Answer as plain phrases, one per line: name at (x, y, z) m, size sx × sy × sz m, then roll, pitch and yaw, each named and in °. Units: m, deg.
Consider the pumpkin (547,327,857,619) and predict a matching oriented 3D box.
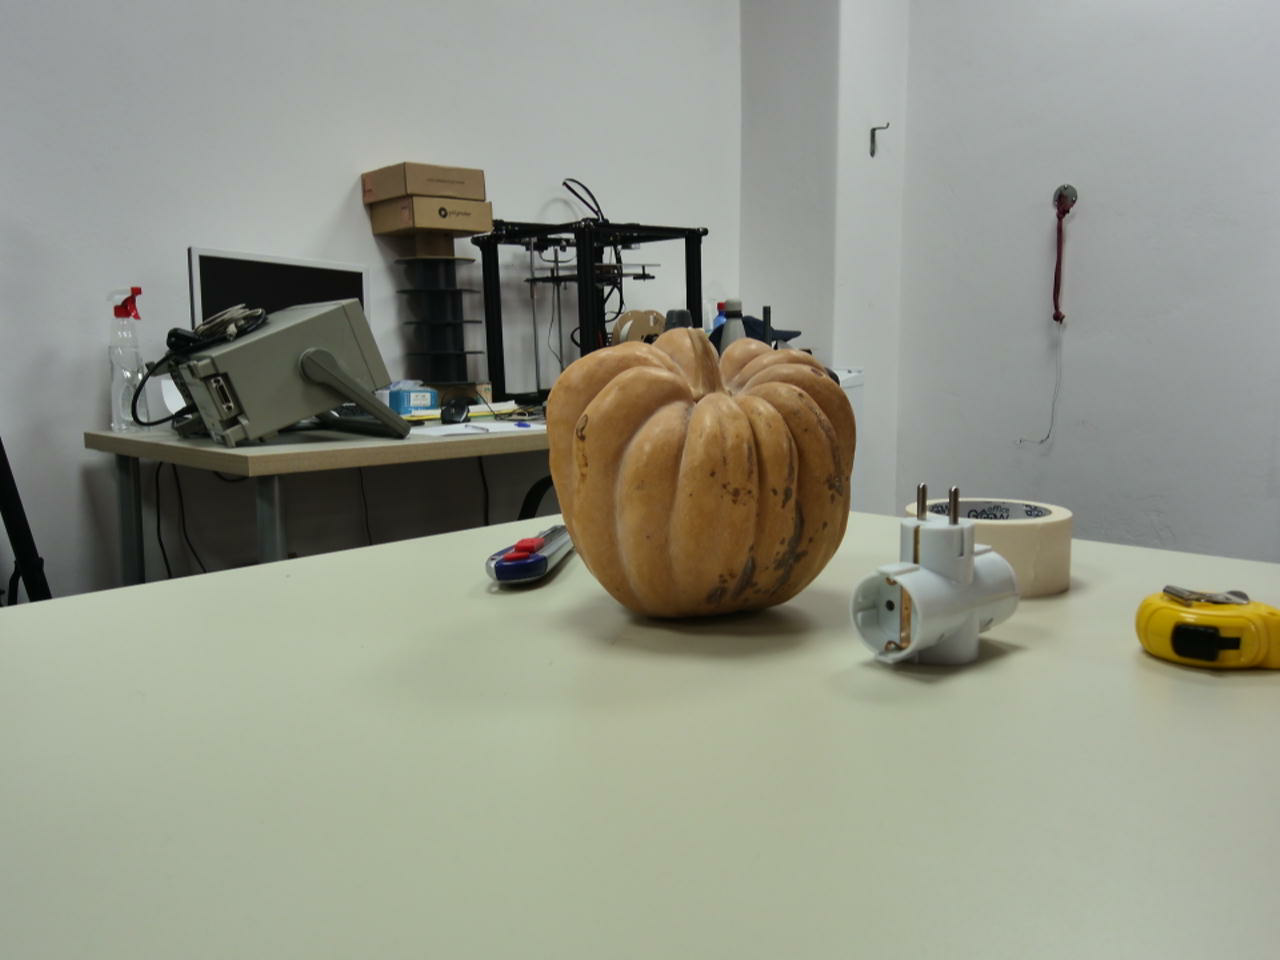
pumpkin at (0.037, -0.006, 0.626) m, size 0.199 × 0.177 × 0.198 m, roll -1°, pitch 6°, yaw 0°
